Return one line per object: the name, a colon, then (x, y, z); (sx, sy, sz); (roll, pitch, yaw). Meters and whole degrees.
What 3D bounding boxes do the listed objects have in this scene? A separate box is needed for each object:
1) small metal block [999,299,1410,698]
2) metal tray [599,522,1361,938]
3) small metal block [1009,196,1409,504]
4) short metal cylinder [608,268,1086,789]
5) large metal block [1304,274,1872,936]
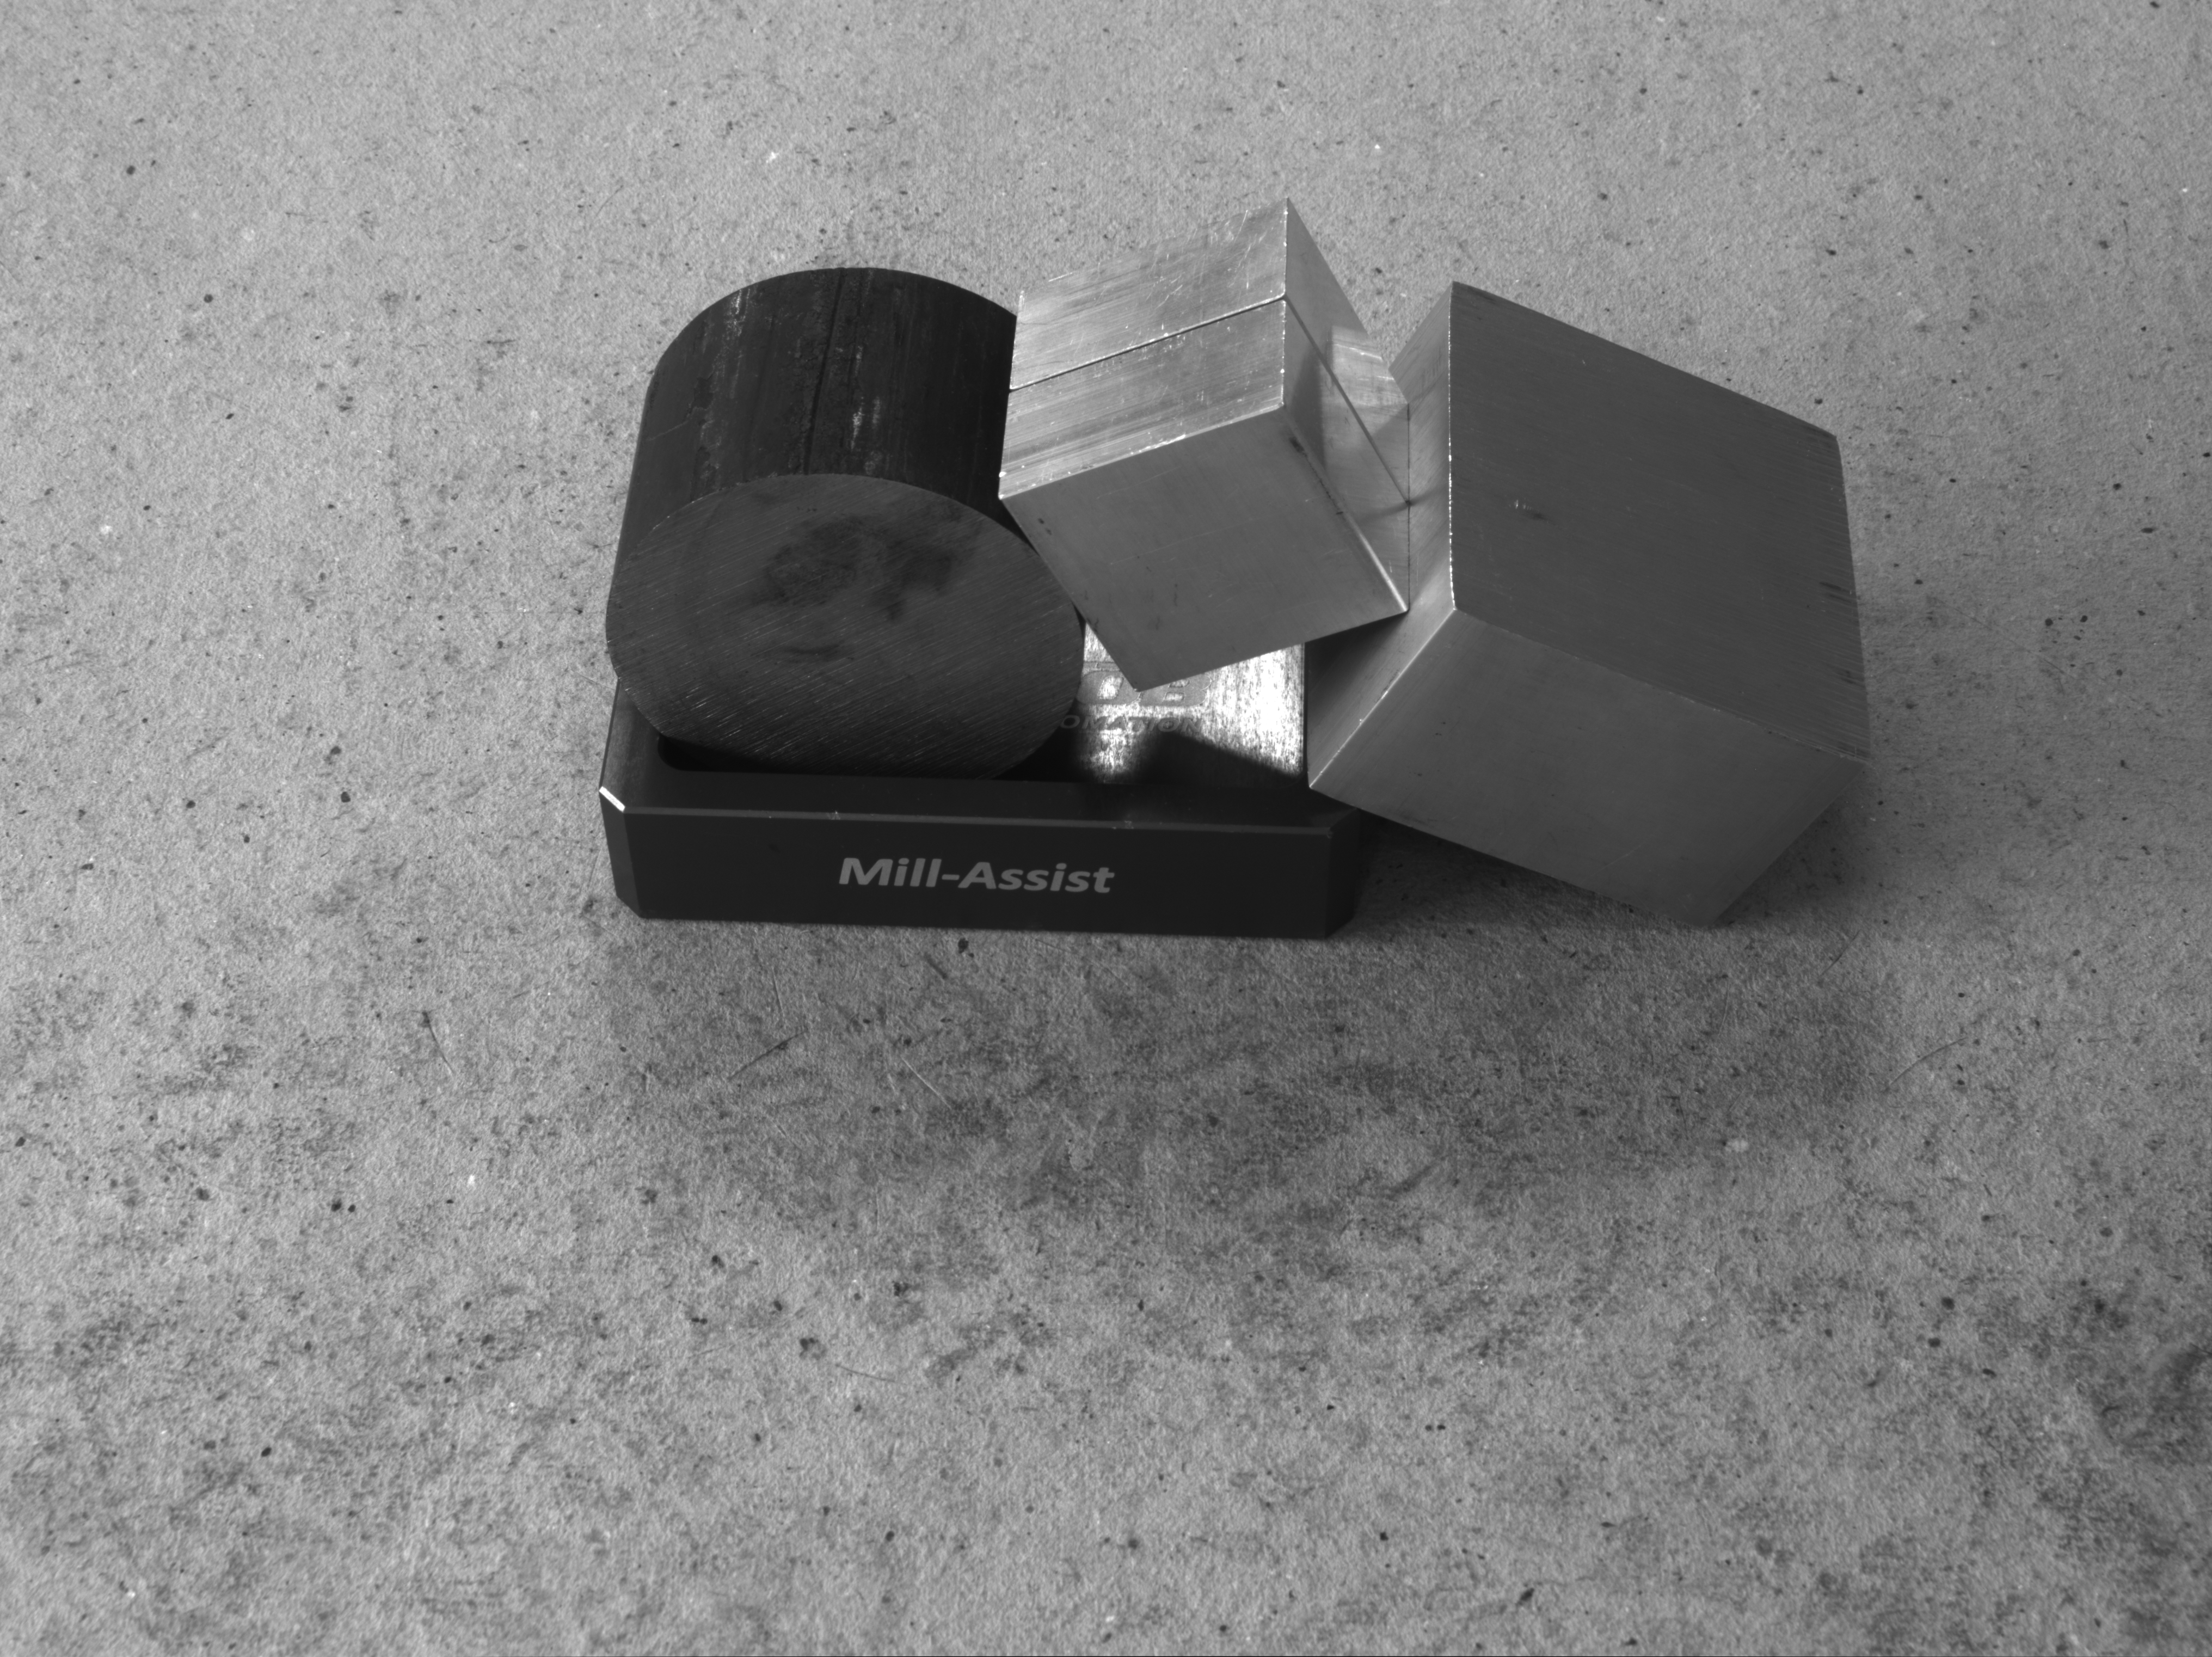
small metal block: (0.017, -0.053, 0.602); (0.050, 0.050, 0.025); (-16, 45, 21)
metal tray: (-0.020, -0.026, 0.661); (0.130, 0.030, 0.090); (2, 50, 2)
small metal block: (0.018, -0.073, 0.619); (0.050, 0.050, 0.025); (-16, 45, 21)
short metal cylinder: (-0.043, -0.049, 0.632); (0.080, 0.080, 0.050); (1, 50, 1)
large metal block: (0.083, -0.039, 0.640); (0.080, 0.050, 0.080); (20, 48, -17)
